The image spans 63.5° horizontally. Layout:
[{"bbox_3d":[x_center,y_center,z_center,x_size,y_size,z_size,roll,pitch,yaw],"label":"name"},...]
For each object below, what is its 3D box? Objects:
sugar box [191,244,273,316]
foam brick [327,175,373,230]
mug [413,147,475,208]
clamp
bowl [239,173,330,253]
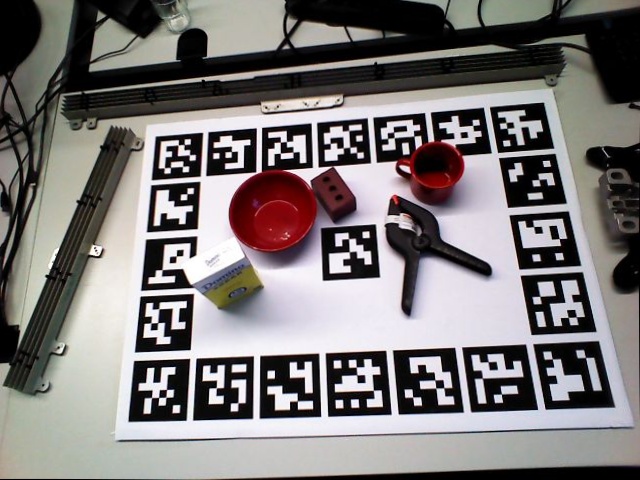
[{"bbox_3d":[-0.136,0.071,0.841,0.093,0.177,0.045,-27,71,-6],"label":"sugar box"},{"bbox_3d":[0.055,-0.068,0.943,0.053,0.051,0.078,-30,71,-4],"label":"foam brick"},{"bbox_3d":[0.221,-0.111,0.915,0.117,0.081,0.093,22,74,10],"label":"mug"},{"bbox_3d":[0.195,0.017,0.892,0.165,0.037,0.202,-26,71,-1],"label":"clamp"},{"bbox_3d":[-0.061,-0.038,0.936,0.162,0.055,0.161,-2,70,5],"label":"bowl"}]
